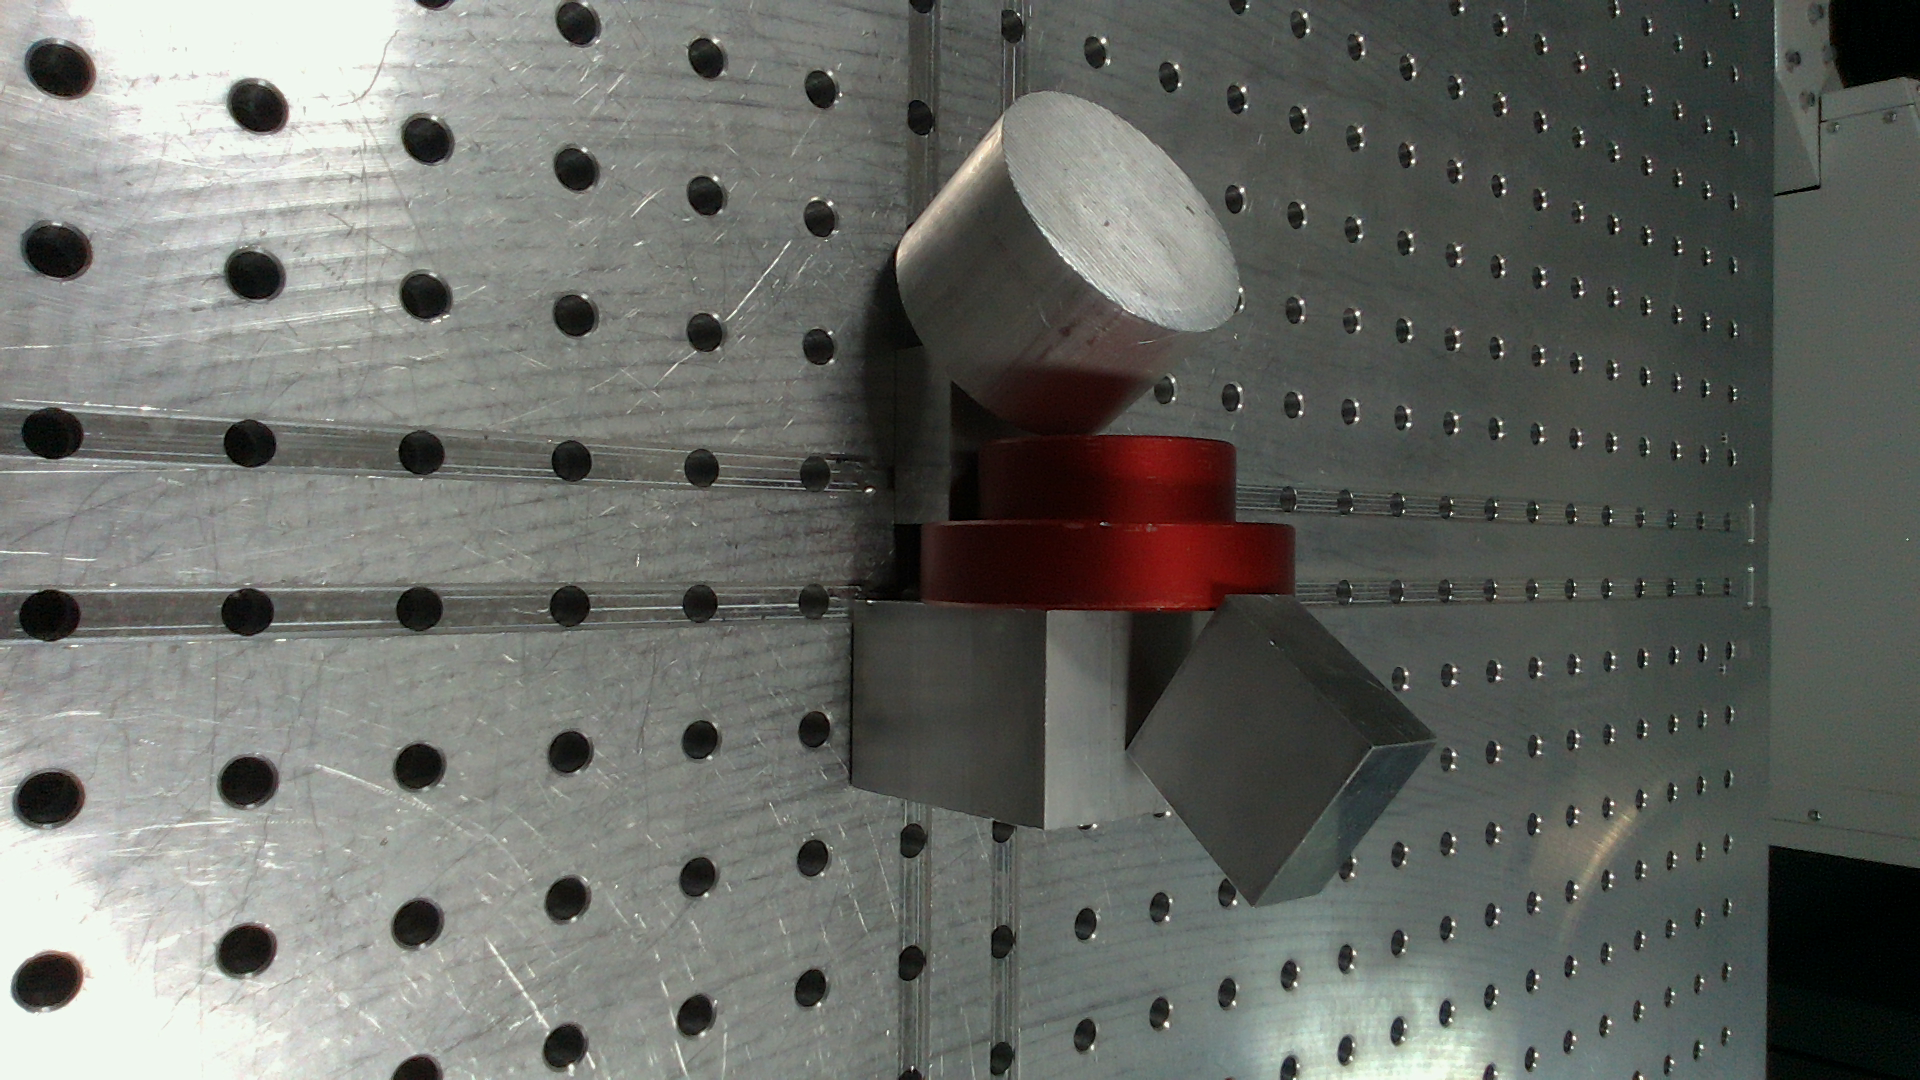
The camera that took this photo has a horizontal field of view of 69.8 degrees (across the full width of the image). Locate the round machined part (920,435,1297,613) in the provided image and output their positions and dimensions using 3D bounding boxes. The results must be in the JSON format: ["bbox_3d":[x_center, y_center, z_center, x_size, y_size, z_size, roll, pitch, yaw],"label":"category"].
[{"bbox_3d":[0.039,-0.004,0.363,0.098,0.098,0.042,1,89,-40],"label":"round machined part"}]

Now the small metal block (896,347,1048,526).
[{"bbox_3d":[0.009,-0.029,0.398,0.050,0.025,0.050,1,89,-40],"label":"small metal block"}]

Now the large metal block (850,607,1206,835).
[{"bbox_3d":[0.026,0.044,0.377,0.080,0.080,0.050,1,89,-40],"label":"large metal block"}]

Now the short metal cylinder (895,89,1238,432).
[{"bbox_3d":[0.029,-0.075,0.378,0.080,0.050,0.080,23,47,-26],"label":"short metal cylinder"}]

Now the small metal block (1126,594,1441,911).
[{"bbox_3d":[0.073,0.048,0.319,0.025,0.050,0.050,2,127,-40],"label":"small metal block"}]
